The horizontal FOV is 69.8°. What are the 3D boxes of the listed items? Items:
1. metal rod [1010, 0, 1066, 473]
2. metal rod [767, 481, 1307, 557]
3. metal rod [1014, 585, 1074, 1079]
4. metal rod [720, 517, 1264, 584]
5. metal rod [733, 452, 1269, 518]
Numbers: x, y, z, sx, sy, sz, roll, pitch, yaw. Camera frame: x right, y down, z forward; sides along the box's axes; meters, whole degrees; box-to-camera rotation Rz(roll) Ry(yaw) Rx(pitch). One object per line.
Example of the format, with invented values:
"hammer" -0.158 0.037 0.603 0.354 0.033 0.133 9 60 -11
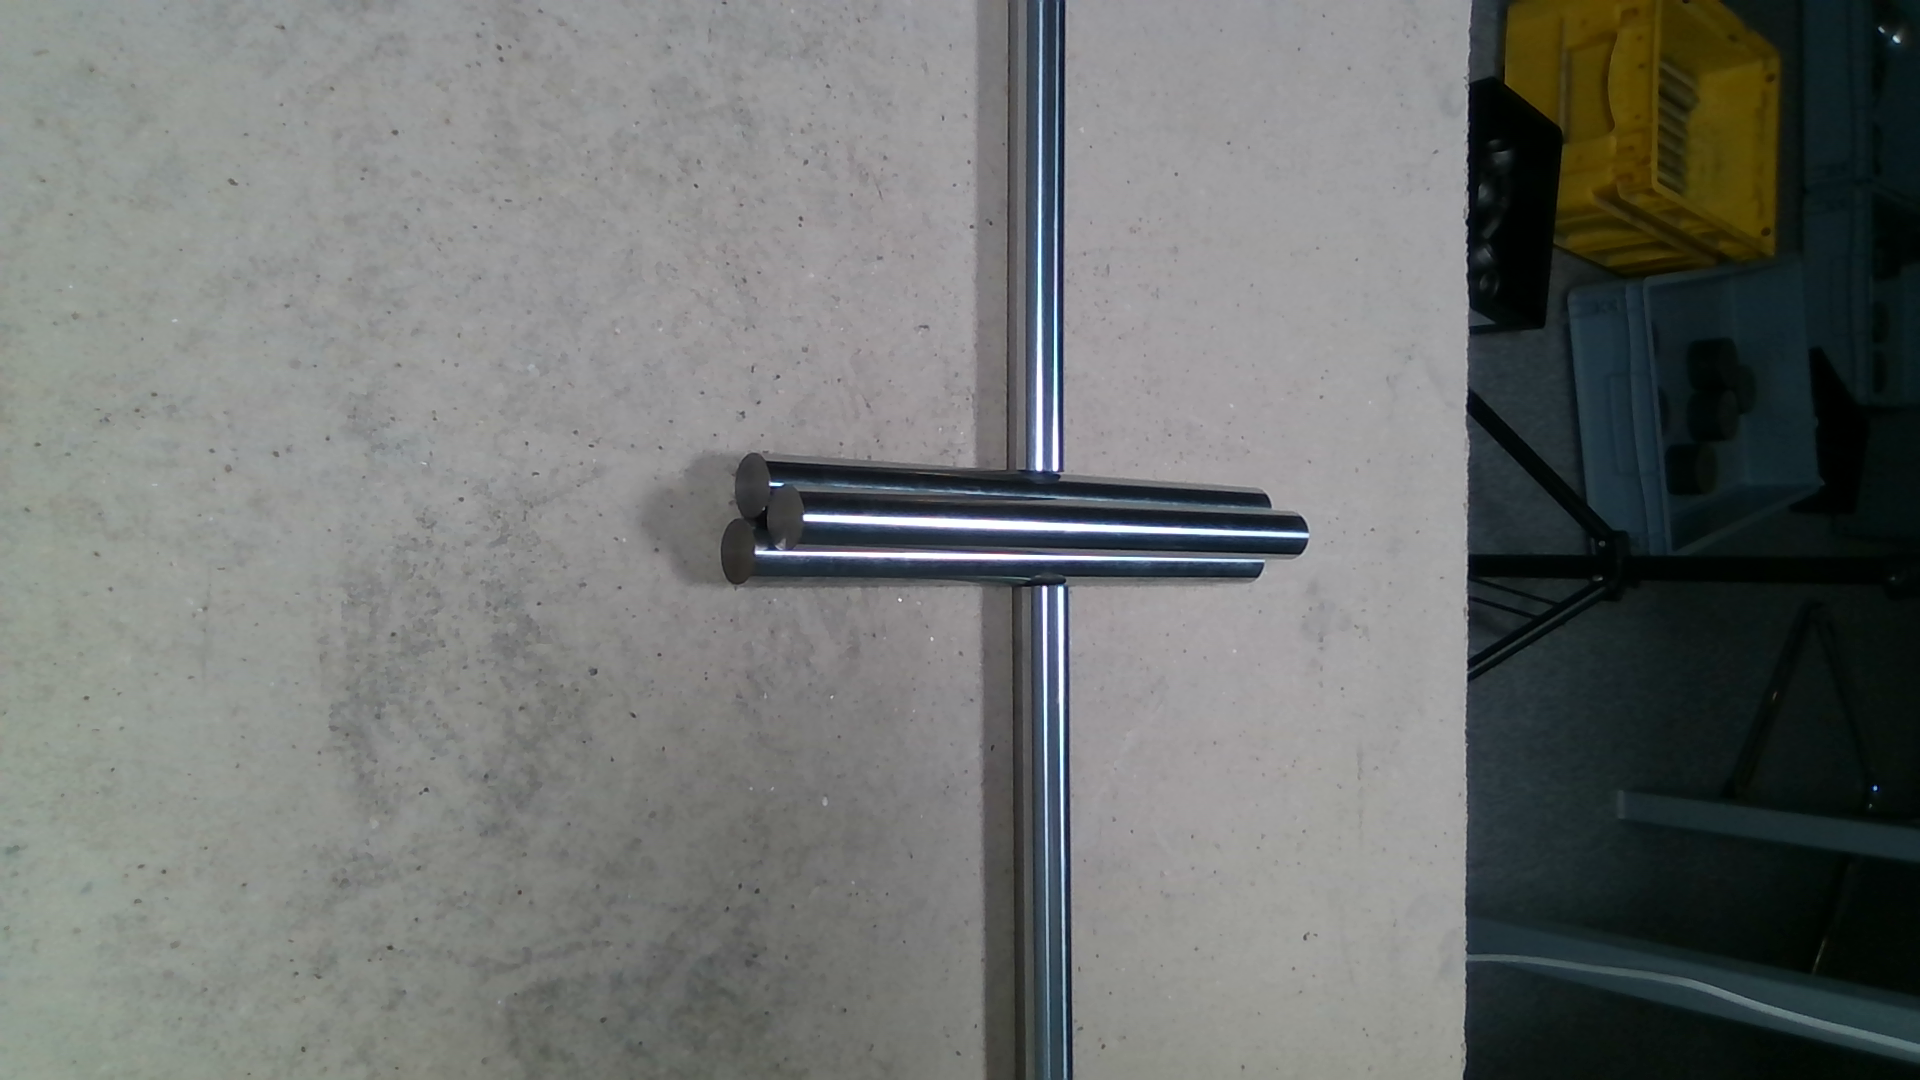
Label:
"metal rod" 0.035 -0.180 0.612 0.025 0.025 0.300 0 90 -40
"metal rod" 0.051 -0.006 0.600 0.300 0.025 0.025 2 89 -40
"metal rod" 0.038 0.170 0.615 0.025 0.025 0.300 -1 91 -40
"metal rod" 0.031 0.007 0.611 0.300 0.025 0.025 2 89 -40
"metal rod" 0.036 -0.018 0.615 0.300 0.025 0.025 2 89 -40
